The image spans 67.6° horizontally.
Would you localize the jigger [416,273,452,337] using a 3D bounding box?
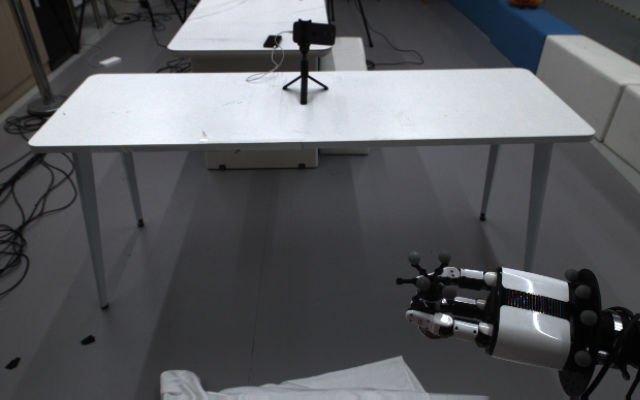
[{"bbox_3d":[0.153,0.143,0.655,0.043,0.071,0.043,-9,31,5],"label":"jigger"}]
